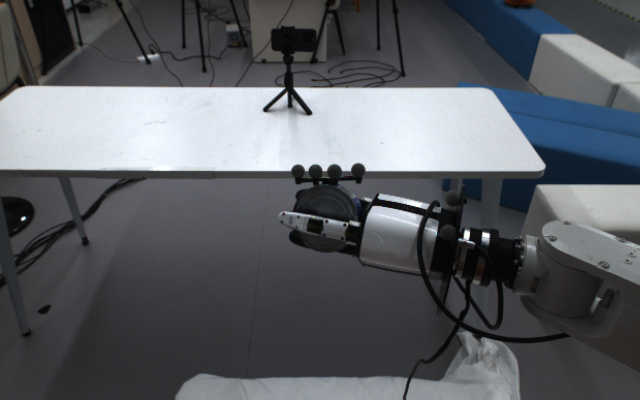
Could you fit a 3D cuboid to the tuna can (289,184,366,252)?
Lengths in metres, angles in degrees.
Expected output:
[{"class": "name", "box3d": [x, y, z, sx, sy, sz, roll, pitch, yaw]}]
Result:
[{"class": "tuna can", "box3d": [0.012, 0.021, 0.614, 0.085, 0.085, 0.034, 15, 10, 18]}]
